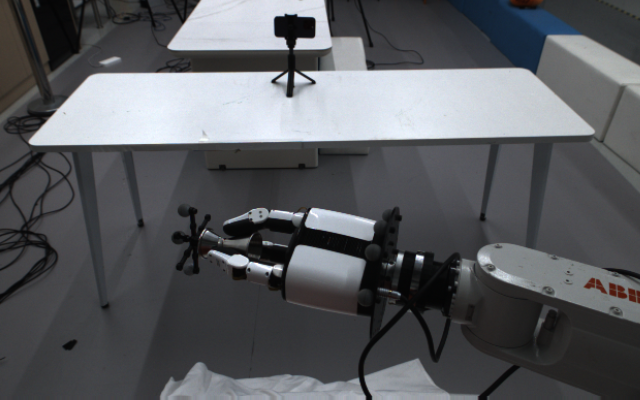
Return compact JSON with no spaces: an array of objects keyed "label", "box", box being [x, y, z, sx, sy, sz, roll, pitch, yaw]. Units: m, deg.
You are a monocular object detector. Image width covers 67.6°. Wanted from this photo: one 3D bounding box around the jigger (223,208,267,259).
[{"label":"jigger","box":[-0.104,0.055,0.600,0.071,0.043,0.043,6,34,16]}]
